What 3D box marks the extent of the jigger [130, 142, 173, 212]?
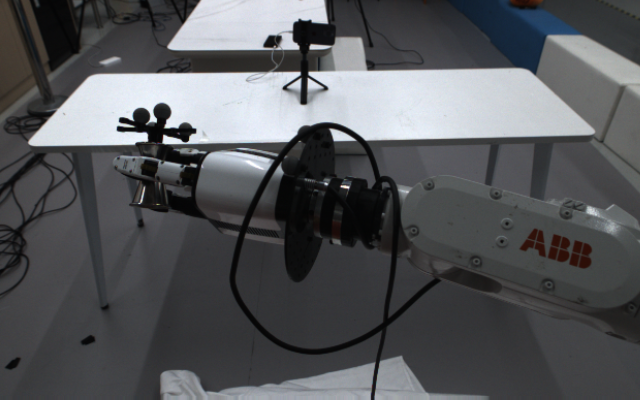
[{"bbox_3d":[-0.181,-0.025,0.530,0.043,0.071,0.043,2,-6,0],"label":"jigger"}]
